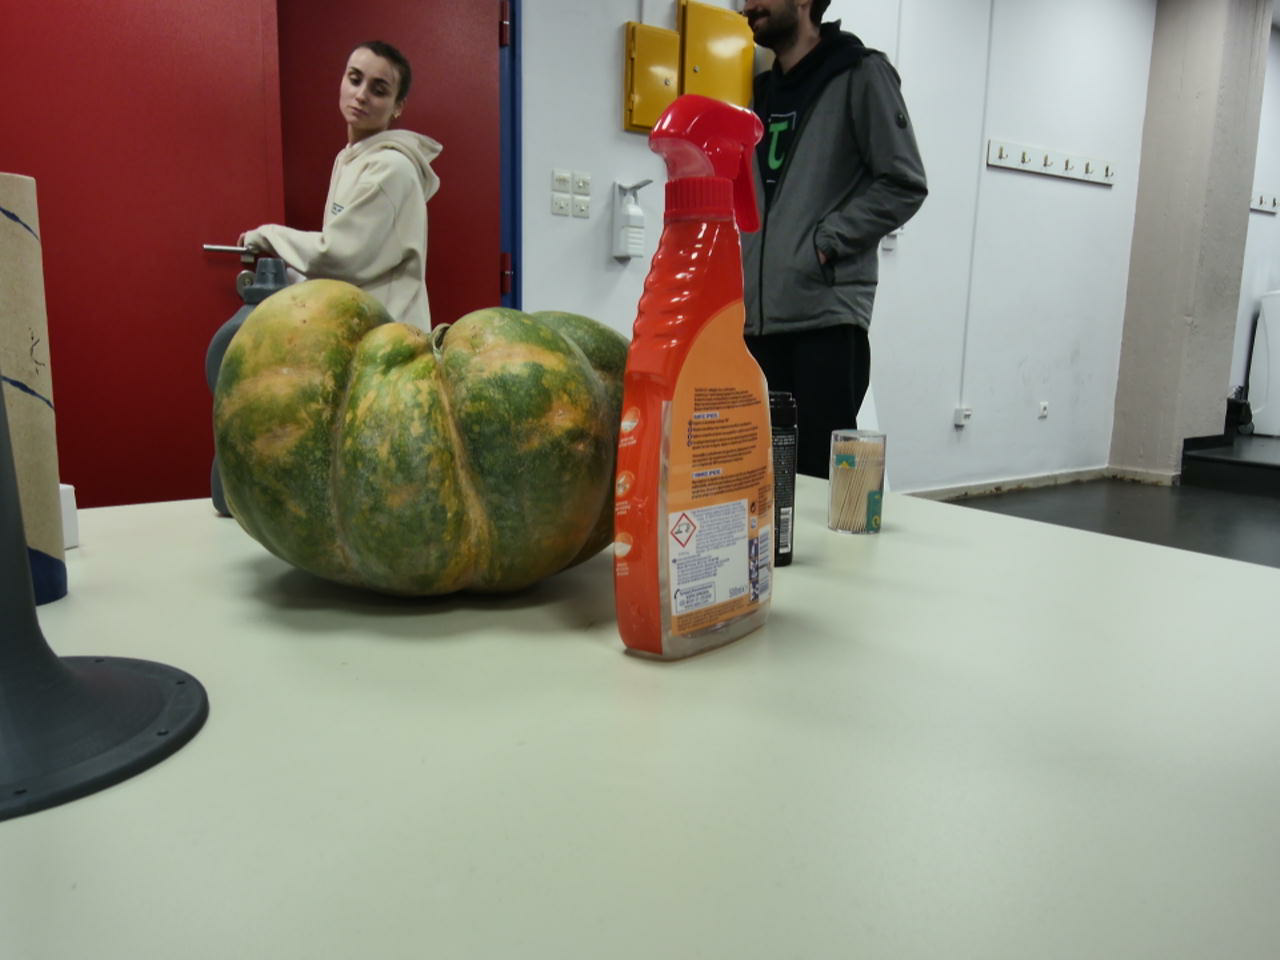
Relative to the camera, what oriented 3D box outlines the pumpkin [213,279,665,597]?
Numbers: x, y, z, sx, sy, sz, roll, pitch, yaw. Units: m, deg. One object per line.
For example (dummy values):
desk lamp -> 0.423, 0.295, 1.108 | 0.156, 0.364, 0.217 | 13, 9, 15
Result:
pumpkin -> -0.122, -0.025, 0.586 | 0.270, 0.173, 0.237 | 1, 8, 1
